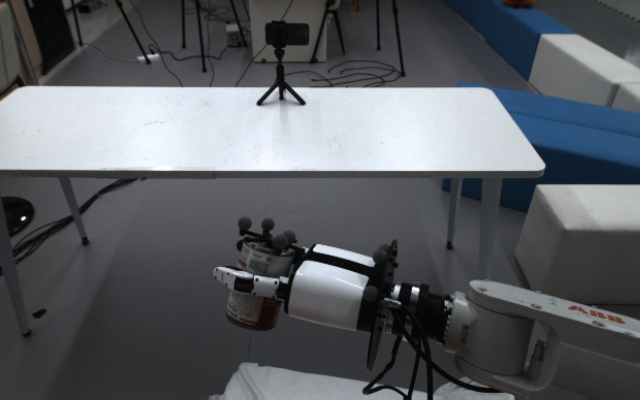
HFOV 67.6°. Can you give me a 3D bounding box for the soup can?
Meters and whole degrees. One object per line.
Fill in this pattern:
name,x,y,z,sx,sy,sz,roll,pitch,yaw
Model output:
soup can,-0.073,0.104,0.612,0.067,0.101,0.067,15,7,-2
